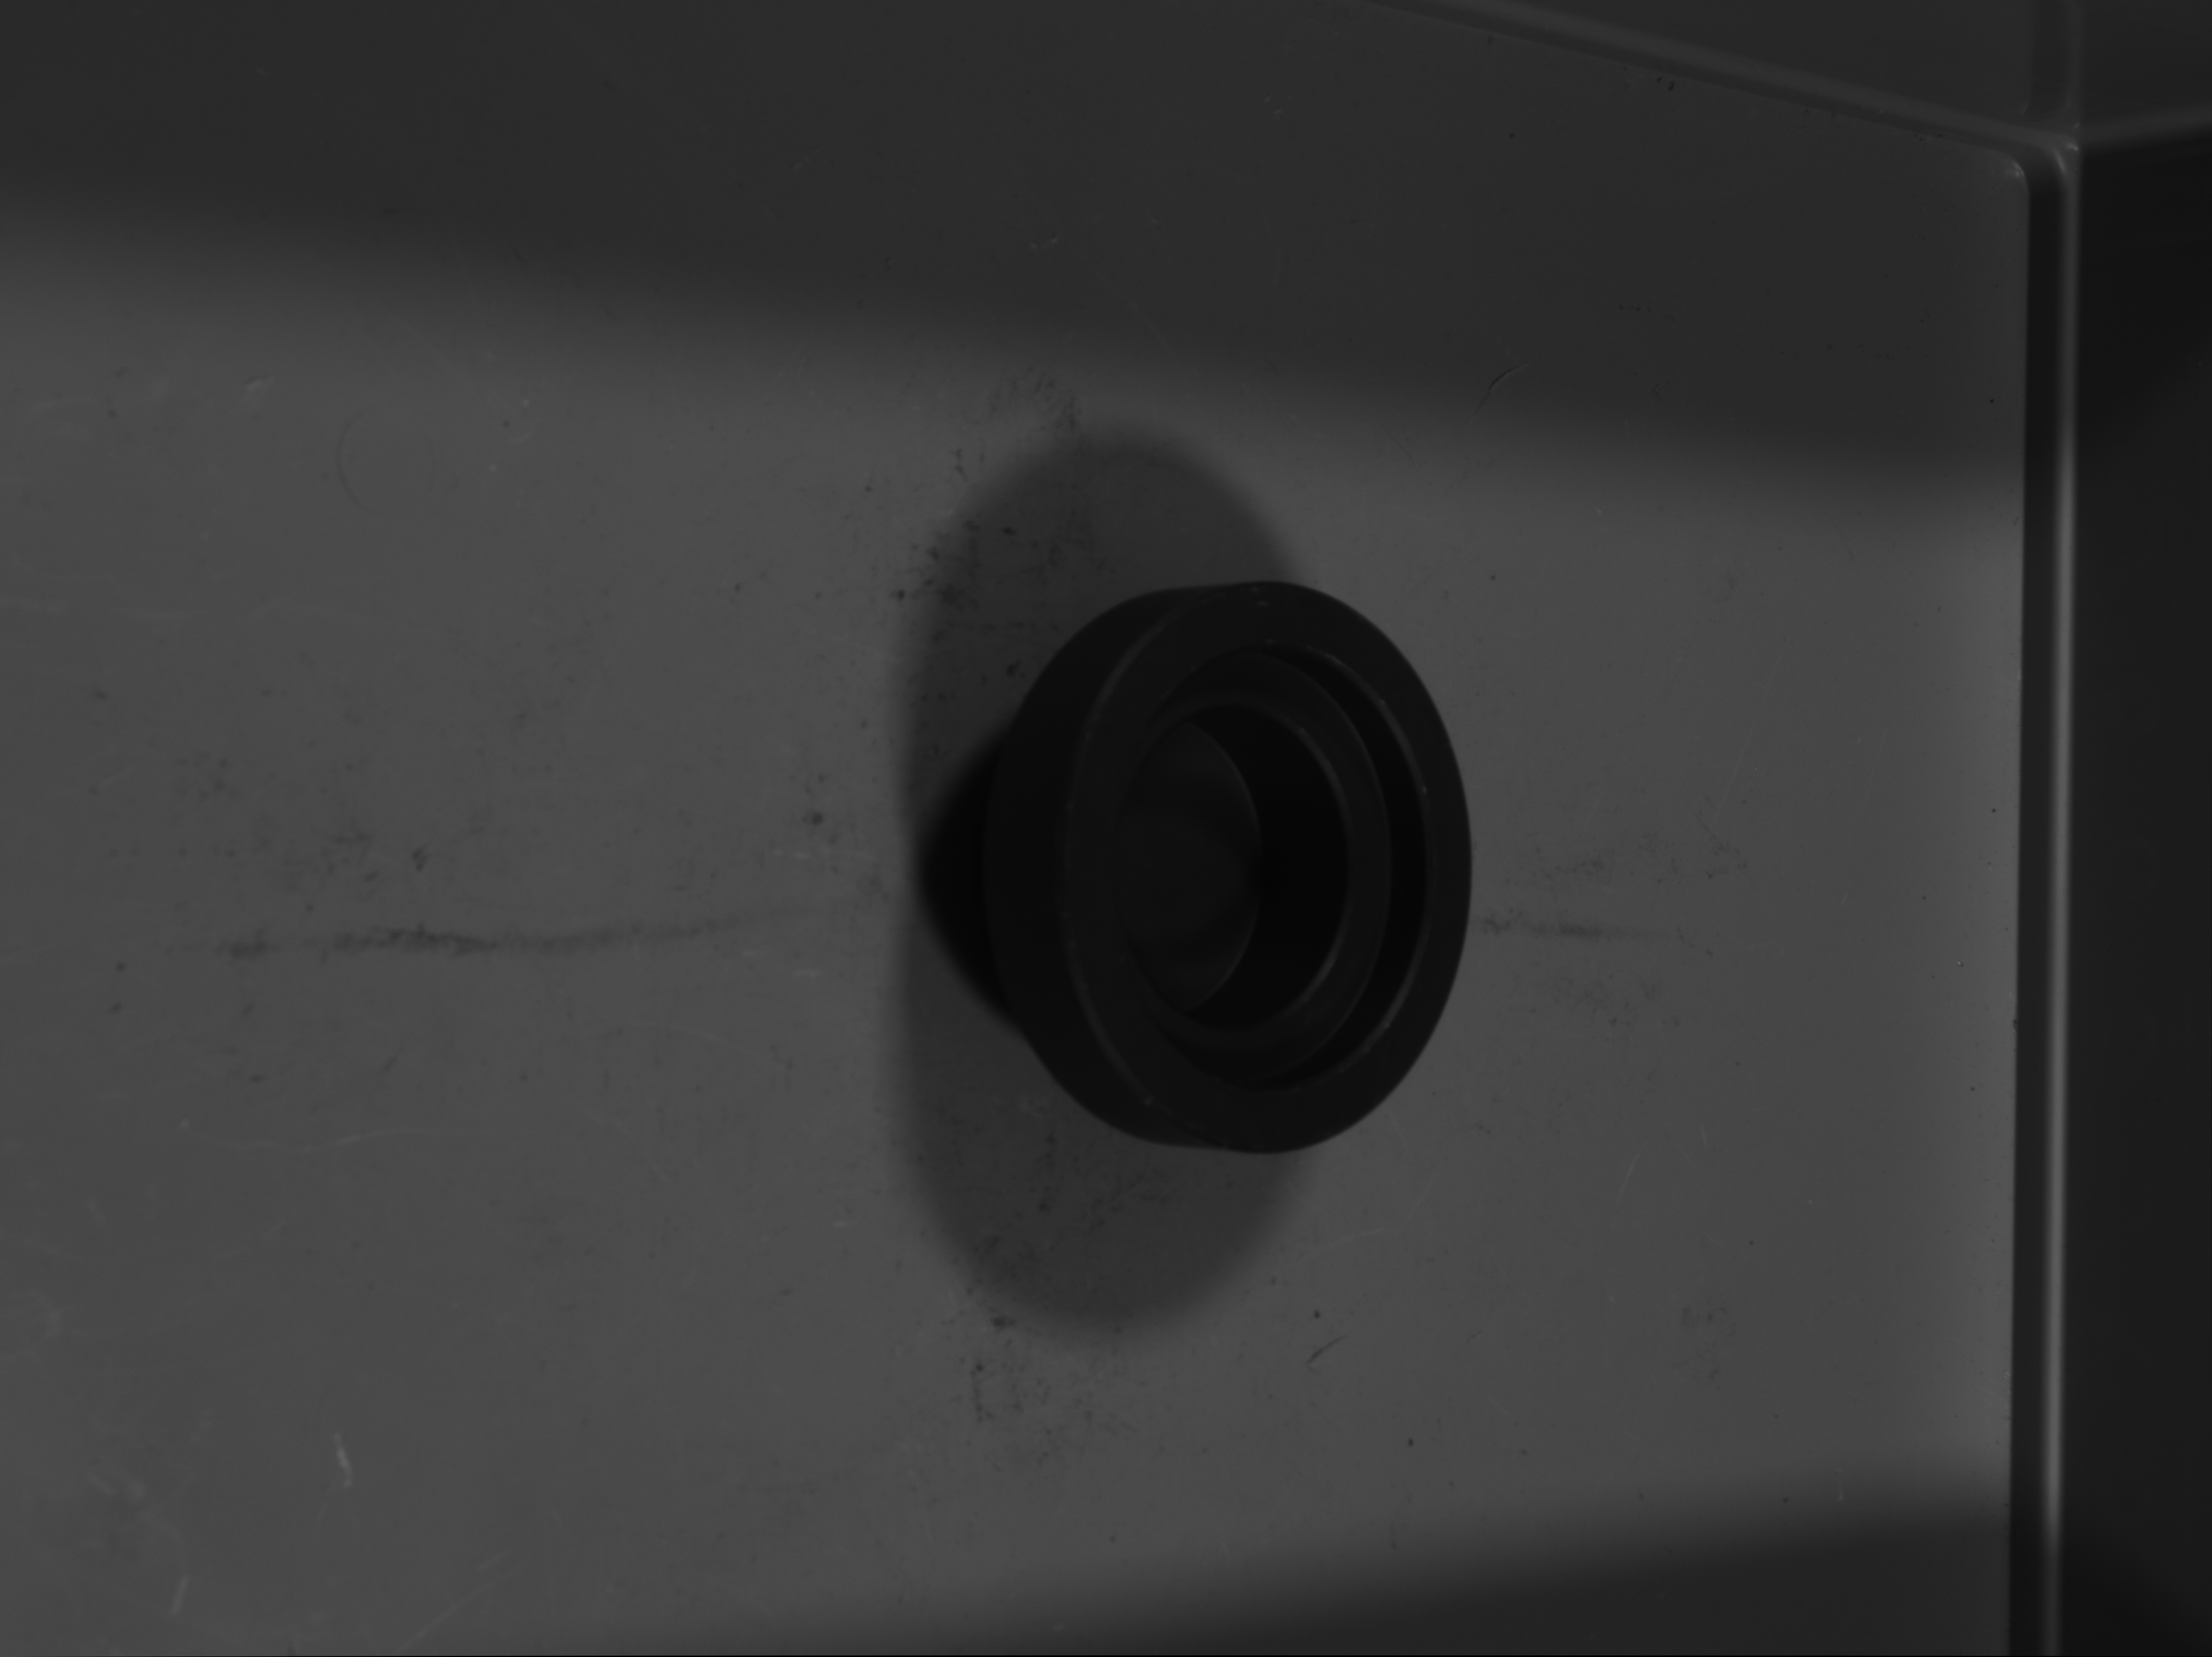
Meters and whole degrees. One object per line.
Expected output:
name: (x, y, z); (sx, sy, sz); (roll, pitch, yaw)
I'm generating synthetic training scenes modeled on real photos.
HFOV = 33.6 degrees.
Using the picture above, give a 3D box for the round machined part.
round machined part: (0.024, 0.007, 0.642); (0.098, 0.042, 0.098); (0, 90, -40)
